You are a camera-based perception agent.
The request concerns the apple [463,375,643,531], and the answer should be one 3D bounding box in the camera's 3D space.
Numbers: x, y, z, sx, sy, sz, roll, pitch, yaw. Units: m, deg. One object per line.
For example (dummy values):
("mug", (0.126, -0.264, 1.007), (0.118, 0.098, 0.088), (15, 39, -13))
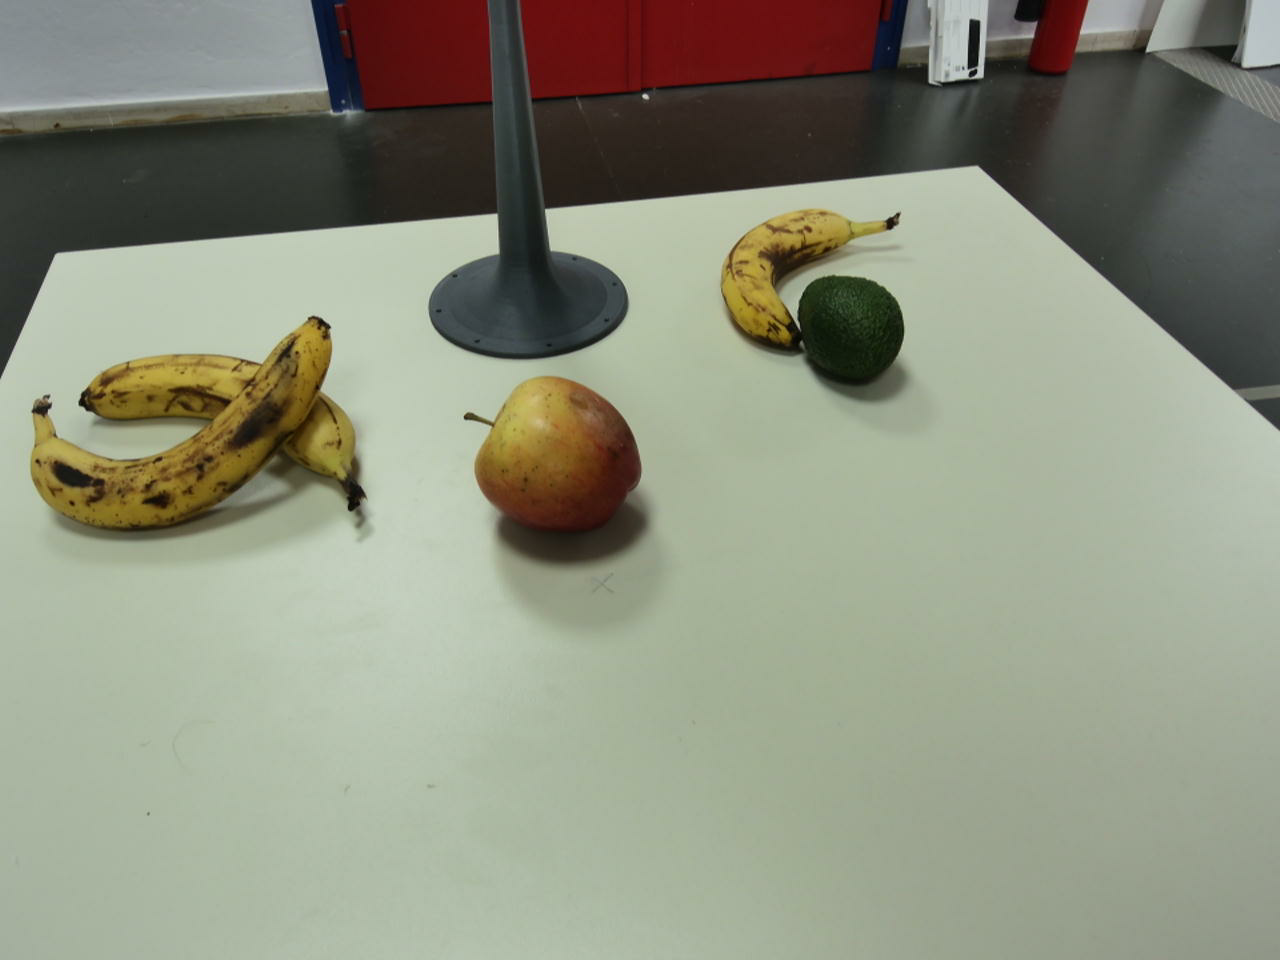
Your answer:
("apple", (-0.048, -0.014, 0.551), (0.093, 0.084, 0.086), (30, 47, 31))
